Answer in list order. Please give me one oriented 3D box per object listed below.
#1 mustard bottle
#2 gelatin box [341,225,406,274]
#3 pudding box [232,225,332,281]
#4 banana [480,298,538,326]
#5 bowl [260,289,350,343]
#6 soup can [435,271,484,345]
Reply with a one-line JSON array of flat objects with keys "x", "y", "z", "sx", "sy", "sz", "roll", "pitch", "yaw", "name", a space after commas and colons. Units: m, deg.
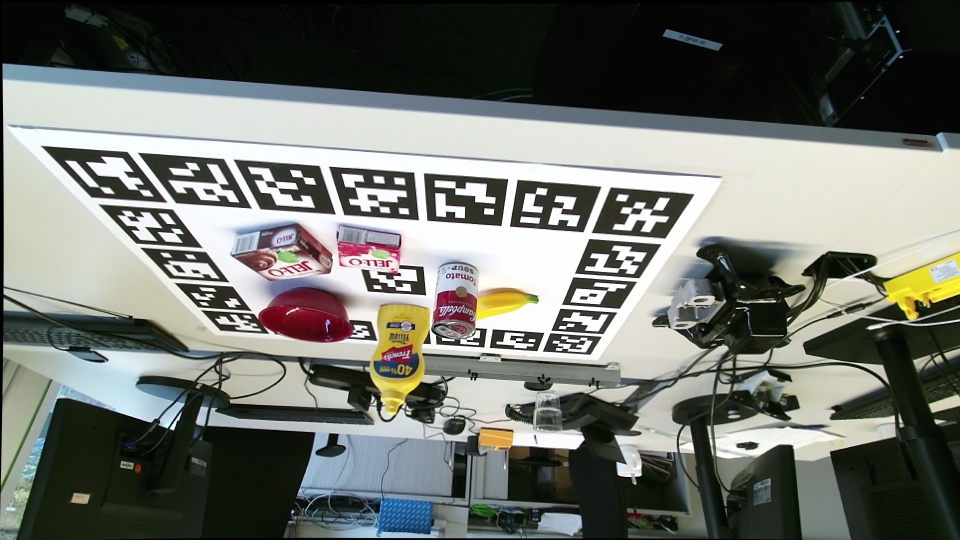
[{"x": -0.148, "y": 0.170, "z": 0.941, "sx": 0.096, "sy": 0.190, "sz": 0.058, "roll": 4, "pitch": 153, "yaw": -1, "name": "mustard bottle"}, {"x": -0.156, "y": -0.028, "z": 0.782, "sx": 0.090, "sy": 0.030, "sz": 0.073, "roll": 7, "pitch": 147, "yaw": -8, "name": "gelatin box"}, {"x": -0.294, "y": -0.020, "z": 0.801, "sx": 0.114, "sy": 0.038, "sz": 0.090, "roll": -8, "pitch": 142, "yaw": 19, "name": "pudding box"}, {"x": 0.006, "y": 0.084, "z": 0.953, "sx": 0.197, "sy": 0.038, "sz": 0.074, "roll": -24, "pitch": 150, "yaw": 38, "name": "banana"}, {"x": -0.313, "y": 0.078, "z": 0.962, "sx": 0.162, "sy": 0.055, "sz": 0.162, "roll": 1, "pitch": 151, "yaw": 1, "name": "bowl"}, {"x": -0.031, "y": 0.060, "z": 0.834, "sx": 0.068, "sy": 0.101, "sz": 0.068, "roll": 4, "pitch": 151, "yaw": 2, "name": "soup can"}]
